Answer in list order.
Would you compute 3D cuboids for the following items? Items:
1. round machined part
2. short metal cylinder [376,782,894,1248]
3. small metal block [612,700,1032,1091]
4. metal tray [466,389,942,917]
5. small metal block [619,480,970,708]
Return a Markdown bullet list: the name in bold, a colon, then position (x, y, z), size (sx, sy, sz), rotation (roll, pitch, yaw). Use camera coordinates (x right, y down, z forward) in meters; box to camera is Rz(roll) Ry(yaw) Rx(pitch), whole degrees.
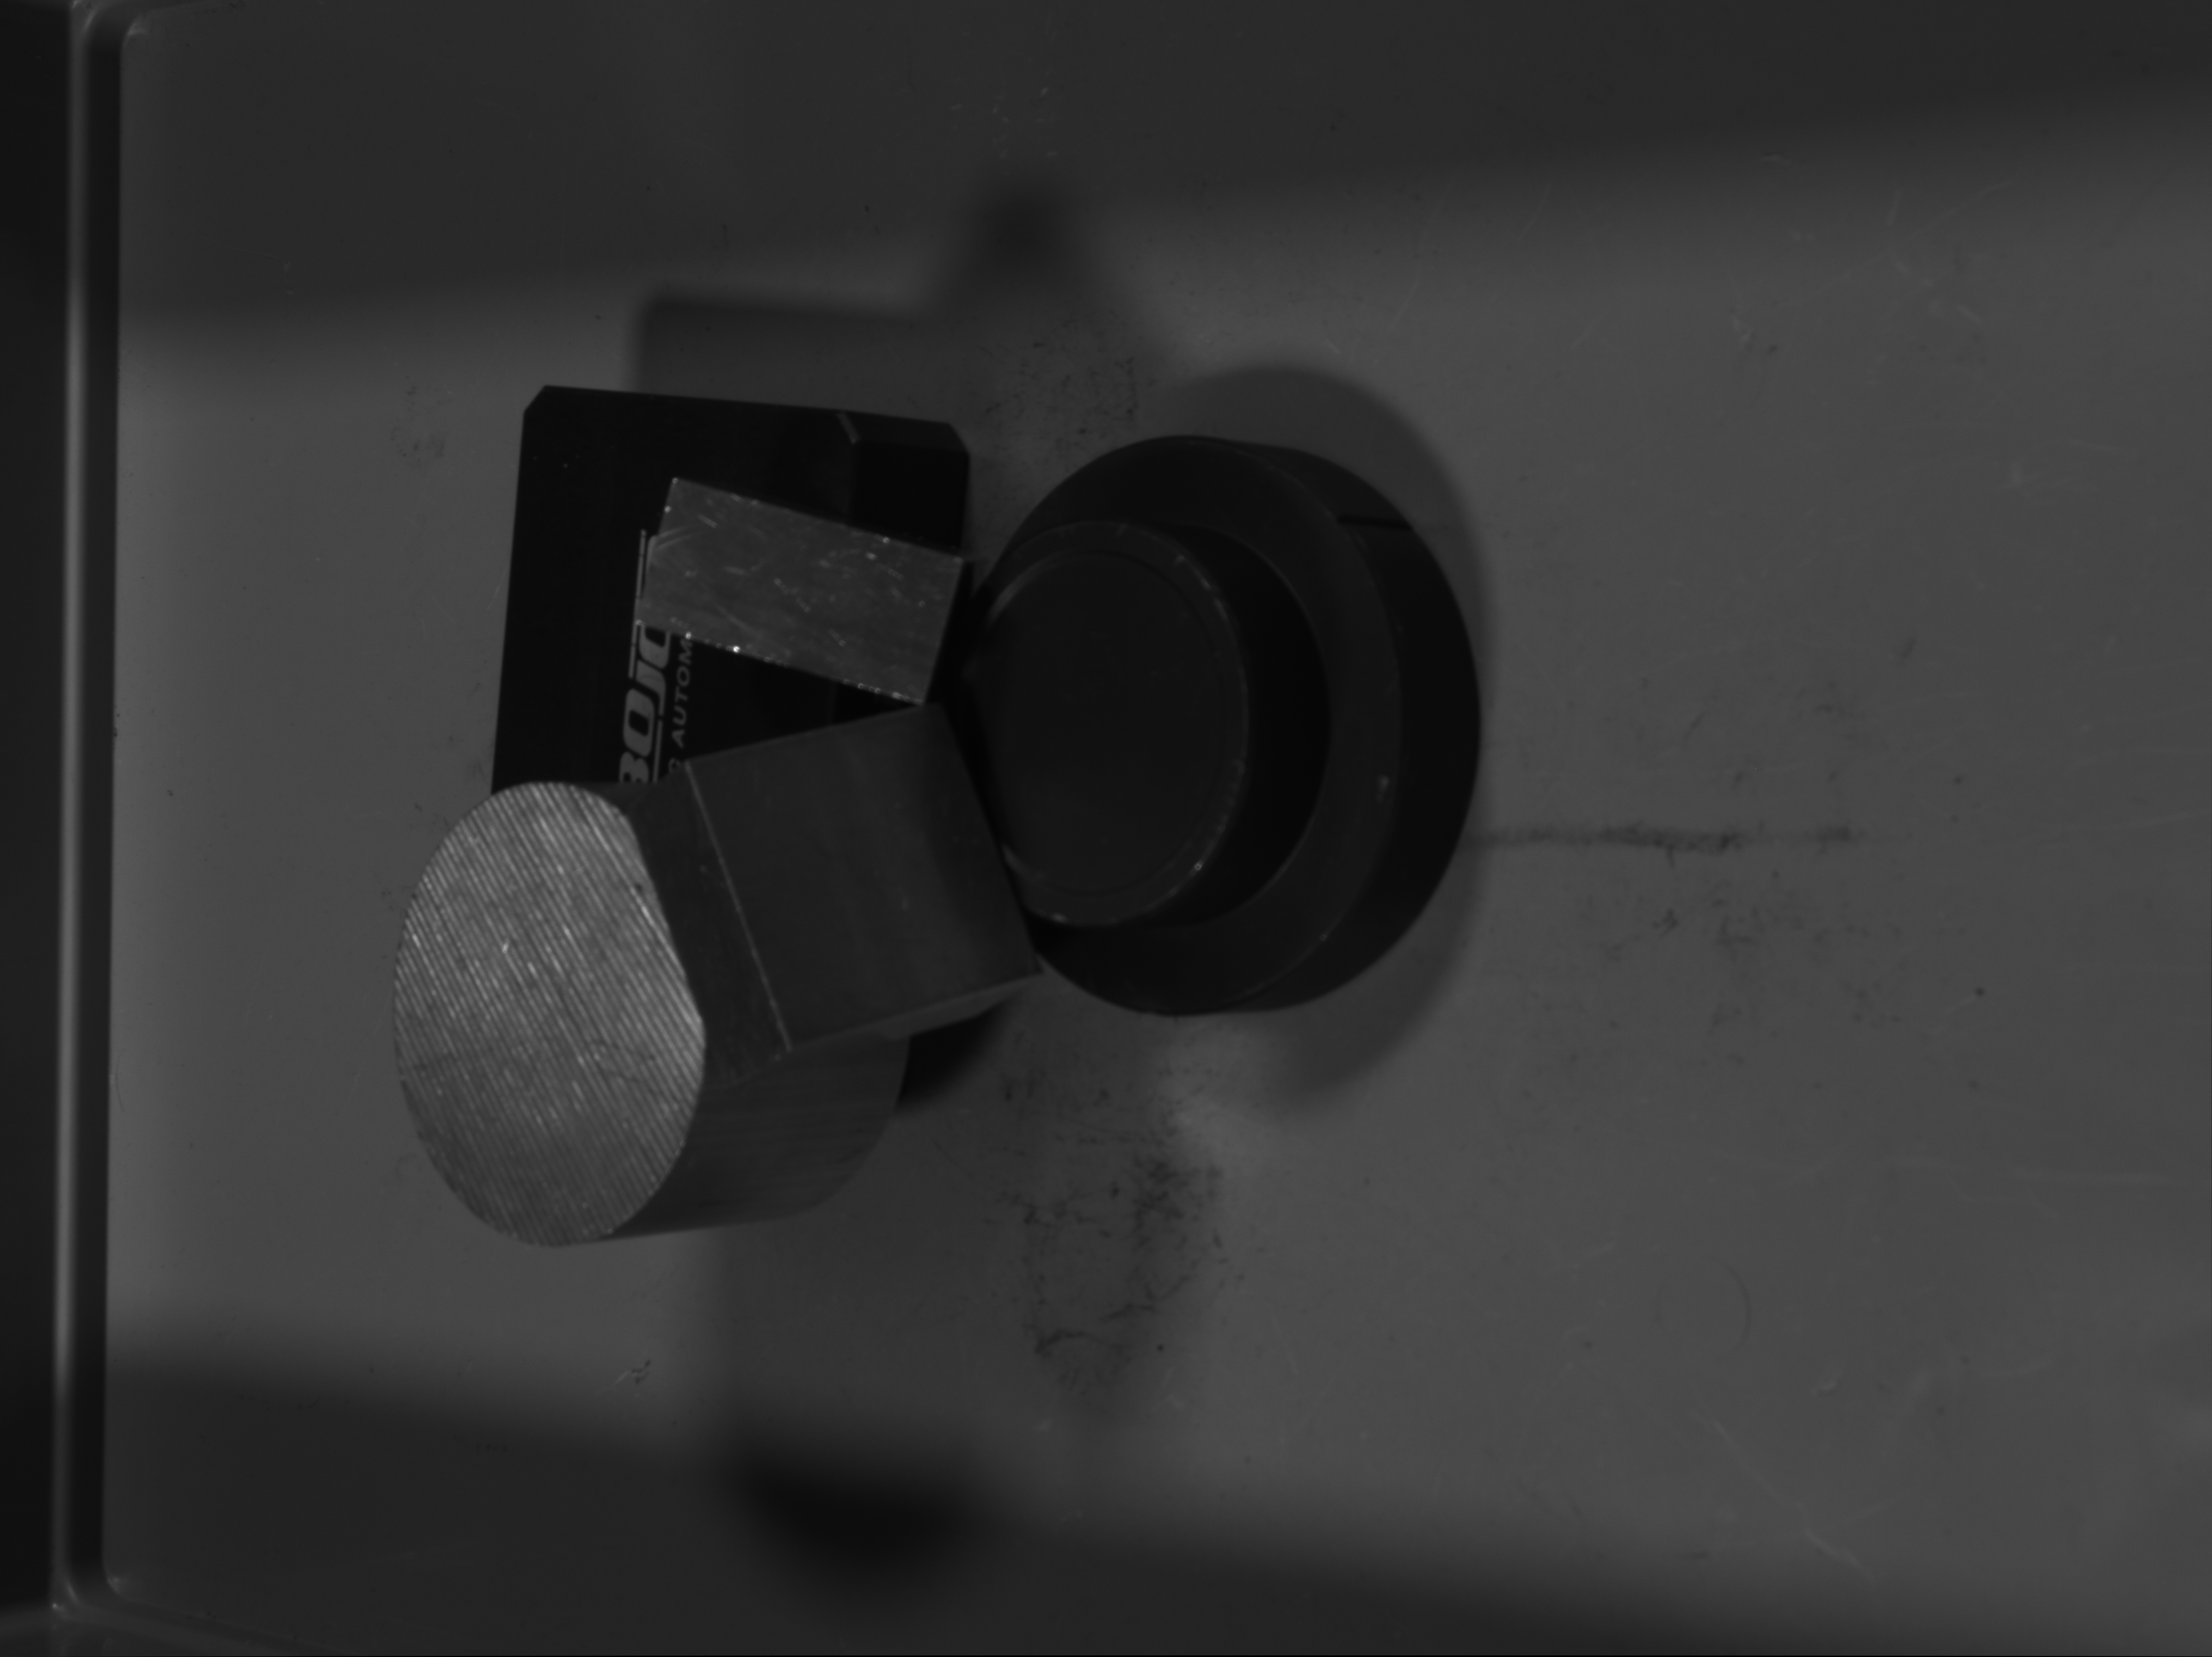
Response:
- **round machined part**: position (0.008, -0.017, 0.617), size (0.098, 0.042, 0.098), rotation (0, 90, 39)
- **short metal cylinder**: position (-0.084, 0.032, 0.648), size (0.080, 0.050, 0.080), rotation (0, 90, 39)
- **small metal block**: position (-0.047, 0.011, 0.607), size (0.025, 0.050, 0.050), rotation (-33, 75, 54)
- **metal tray**: position (-0.080, -0.015, 0.694), size (0.090, 0.030, 0.130), rotation (10, 96, 39)
- **small metal block**: position (-0.052, -0.041, 0.628), size (0.050, 0.050, 0.025), rotation (16, 95, 1)
